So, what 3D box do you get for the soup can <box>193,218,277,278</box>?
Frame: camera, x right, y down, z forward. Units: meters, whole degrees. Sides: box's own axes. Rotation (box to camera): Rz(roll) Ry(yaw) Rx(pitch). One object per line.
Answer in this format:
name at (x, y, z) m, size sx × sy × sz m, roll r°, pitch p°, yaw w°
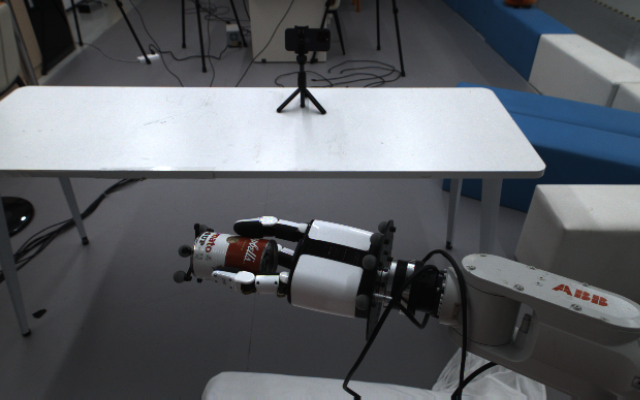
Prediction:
soup can at (-0.113, 0.082, 0.661) m, size 0.101 × 0.067 × 0.067 m, roll 6°, pitch 35°, yaw 13°
